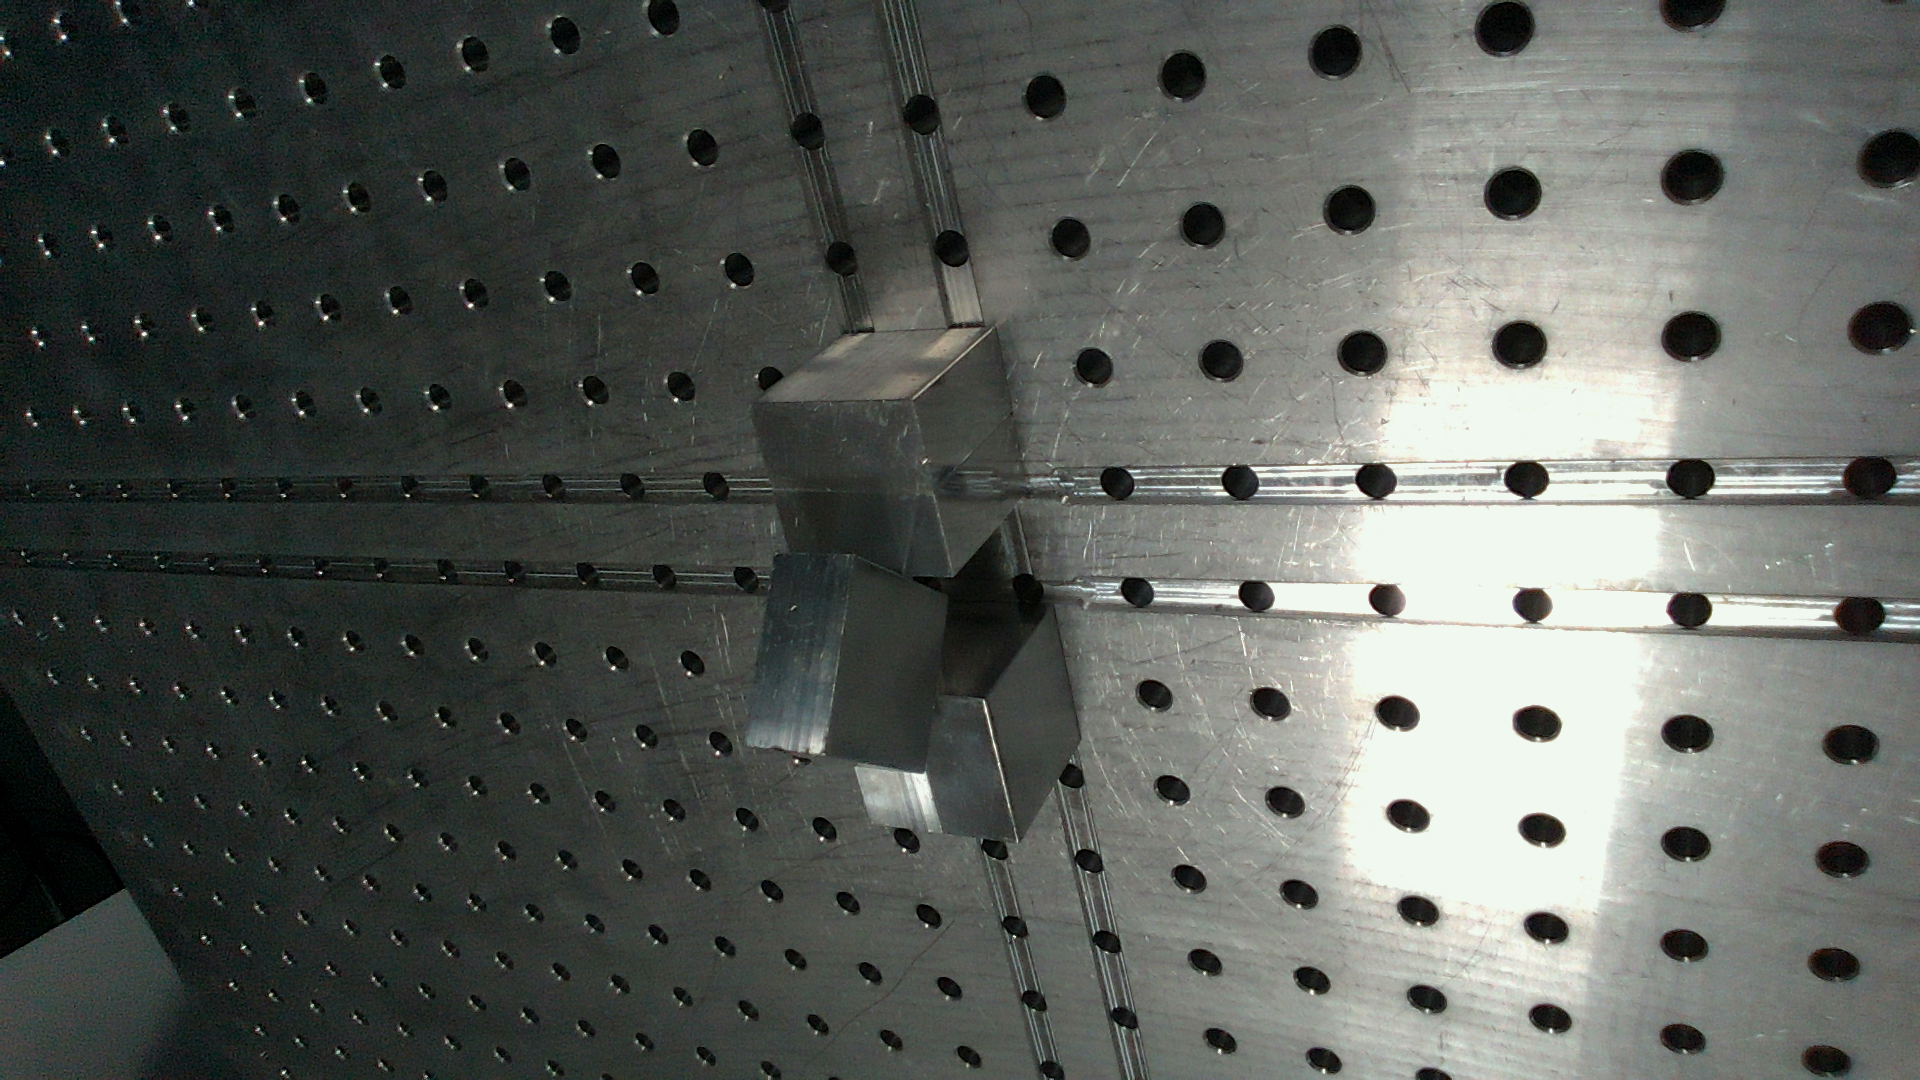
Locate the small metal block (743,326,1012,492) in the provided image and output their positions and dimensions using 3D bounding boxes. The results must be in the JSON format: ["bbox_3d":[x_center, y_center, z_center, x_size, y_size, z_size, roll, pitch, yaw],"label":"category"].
[{"bbox_3d":[-0.021,-0.036,0.368,0.050,0.050,0.025,2,119,27],"label":"small metal block"}]

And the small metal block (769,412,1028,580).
[{"bbox_3d":[-0.016,-0.013,0.379,0.050,0.050,0.025,2,119,27],"label":"small metal block"}]

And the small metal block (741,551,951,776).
[{"bbox_3d":[-0.028,0.033,0.362,0.025,0.050,0.050,1,77,29],"label":"small metal block"}]

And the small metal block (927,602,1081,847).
[{"bbox_3d":[0.011,0.053,0.405,0.025,0.050,0.050,1,119,28],"label":"small metal block"}]

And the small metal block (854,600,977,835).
[{"bbox_3d":[-0.010,0.052,0.418,0.025,0.050,0.050,1,119,28],"label":"small metal block"}]
